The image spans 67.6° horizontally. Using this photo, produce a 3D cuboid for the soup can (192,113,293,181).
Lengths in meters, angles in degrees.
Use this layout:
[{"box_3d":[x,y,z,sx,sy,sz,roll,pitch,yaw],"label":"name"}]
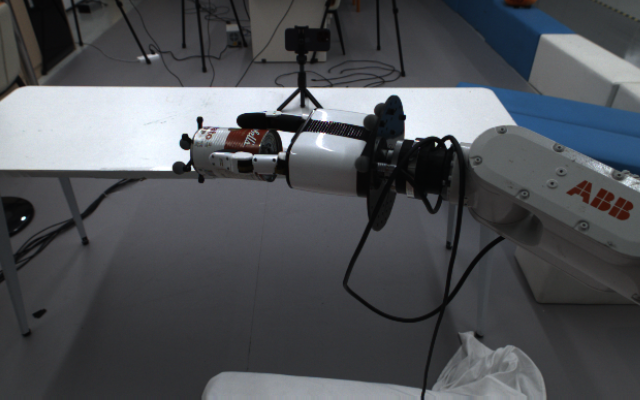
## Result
[{"box_3d":[-0.107,-0.060,0.635,0.101,0.067,0.067,6,34,18],"label":"soup can"}]
